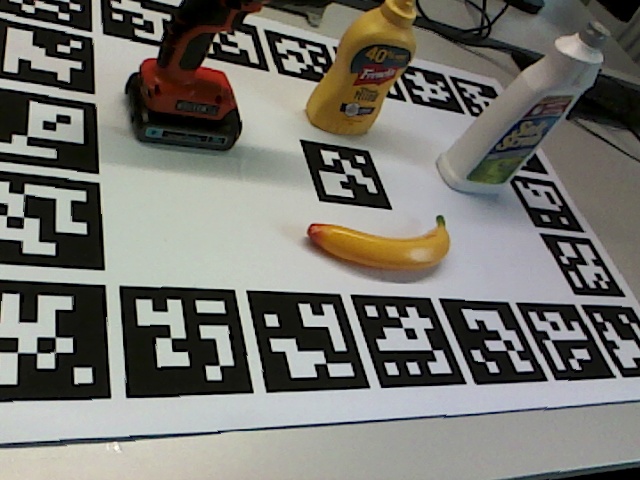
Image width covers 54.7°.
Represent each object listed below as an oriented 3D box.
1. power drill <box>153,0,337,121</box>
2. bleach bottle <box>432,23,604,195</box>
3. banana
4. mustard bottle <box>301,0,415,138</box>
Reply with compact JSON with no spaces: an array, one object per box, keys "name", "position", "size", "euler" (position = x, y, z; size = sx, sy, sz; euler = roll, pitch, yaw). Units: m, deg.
[{"name":"power drill","position":[-0.084,-0.205,0.621],"size":[0.183,0.187,0.057],"euler":[-3,54,-28]},{"name":"bleach bottle","position":[0.253,-0.165,0.787],"size":[0.102,0.251,0.068],"euler":[12,47,-23]},{"name":"banana","position":[0.078,-0.002,0.678],"size":[0.196,0.039,0.074],"euler":[-2,55,-29]},{"name":"mustard bottle","position":[0.057,-0.210,0.756],"size":[0.095,0.192,0.059],"euler":[-2,54,-35]}]
